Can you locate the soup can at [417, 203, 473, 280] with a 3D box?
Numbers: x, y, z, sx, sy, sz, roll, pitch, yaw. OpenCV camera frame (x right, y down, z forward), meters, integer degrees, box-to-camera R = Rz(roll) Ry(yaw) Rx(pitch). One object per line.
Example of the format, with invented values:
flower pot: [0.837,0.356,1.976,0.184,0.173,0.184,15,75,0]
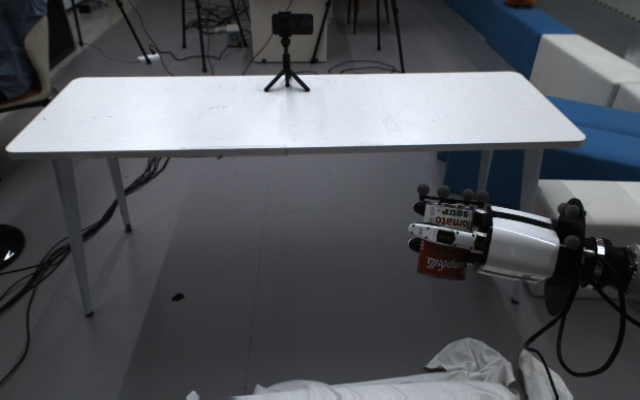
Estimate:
soup can: [0.177,0.055,0.677,0.067,0.101,0.067,7,3,0]
